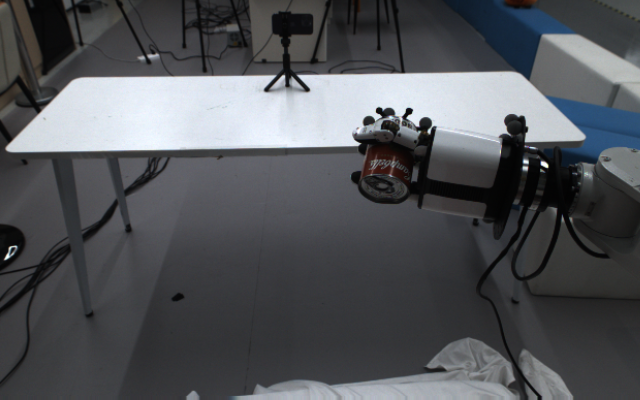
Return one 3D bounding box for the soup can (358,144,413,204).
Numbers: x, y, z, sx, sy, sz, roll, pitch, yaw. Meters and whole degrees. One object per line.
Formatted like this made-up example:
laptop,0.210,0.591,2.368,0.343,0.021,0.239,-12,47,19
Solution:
soup can,0.094,-0.055,0.647,0.067,0.067,0.101,9,58,10
